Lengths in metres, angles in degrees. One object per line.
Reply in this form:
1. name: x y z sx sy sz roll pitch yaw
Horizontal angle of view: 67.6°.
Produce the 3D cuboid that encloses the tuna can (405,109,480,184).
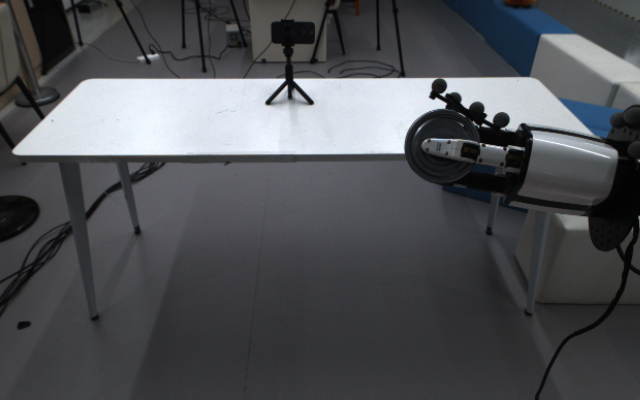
1. tuna can: 0.143 -0.064 0.562 0.085 0.085 0.034 12 4 14
